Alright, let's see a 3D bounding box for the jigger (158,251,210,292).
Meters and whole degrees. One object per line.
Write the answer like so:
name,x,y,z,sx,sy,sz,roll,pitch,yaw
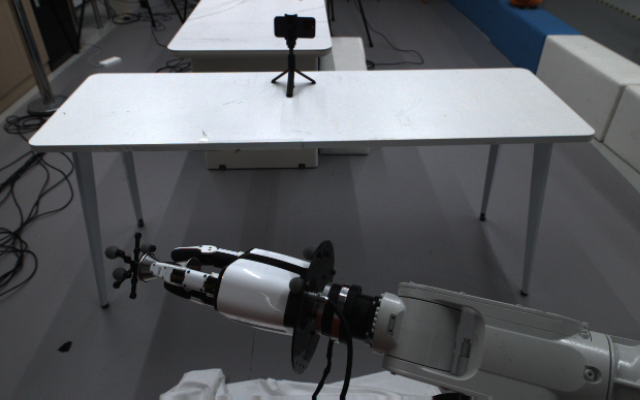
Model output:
jigger,-0.189,0.089,0.633,0.071,0.043,0.043,5,34,15
